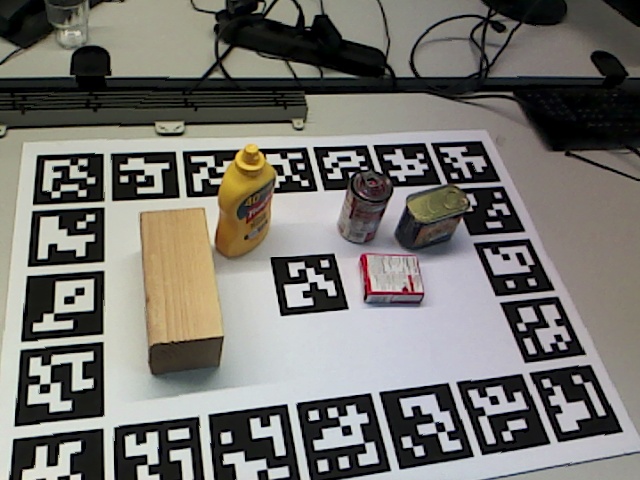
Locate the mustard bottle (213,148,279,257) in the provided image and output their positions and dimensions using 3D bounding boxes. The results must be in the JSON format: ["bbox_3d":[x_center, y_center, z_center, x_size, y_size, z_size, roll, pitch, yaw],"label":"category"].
[{"bbox_3d":[-0.105,-0.058,0.891,0.096,0.191,0.059,-27,62,-29],"label":"mustard bottle"}]

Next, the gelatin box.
[{"bbox_3d":[0.113,0.057,0.935,0.089,0.030,0.073,3,55,-6],"label":"gelatin box"}]

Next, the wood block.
[{"bbox_3d":[-0.186,0.061,0.844,0.090,0.090,0.207,-3,50,-15],"label":"wood block"}]

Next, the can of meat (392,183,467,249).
[{"bbox_3d":[0.172,-0.037,0.990,0.101,0.083,0.058,-15,59,-24],"label":"can of meat"}]

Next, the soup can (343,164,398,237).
[{"bbox_3d":[0.076,-0.059,0.965,0.068,0.102,0.068,5,55,-7],"label":"soup can"}]
